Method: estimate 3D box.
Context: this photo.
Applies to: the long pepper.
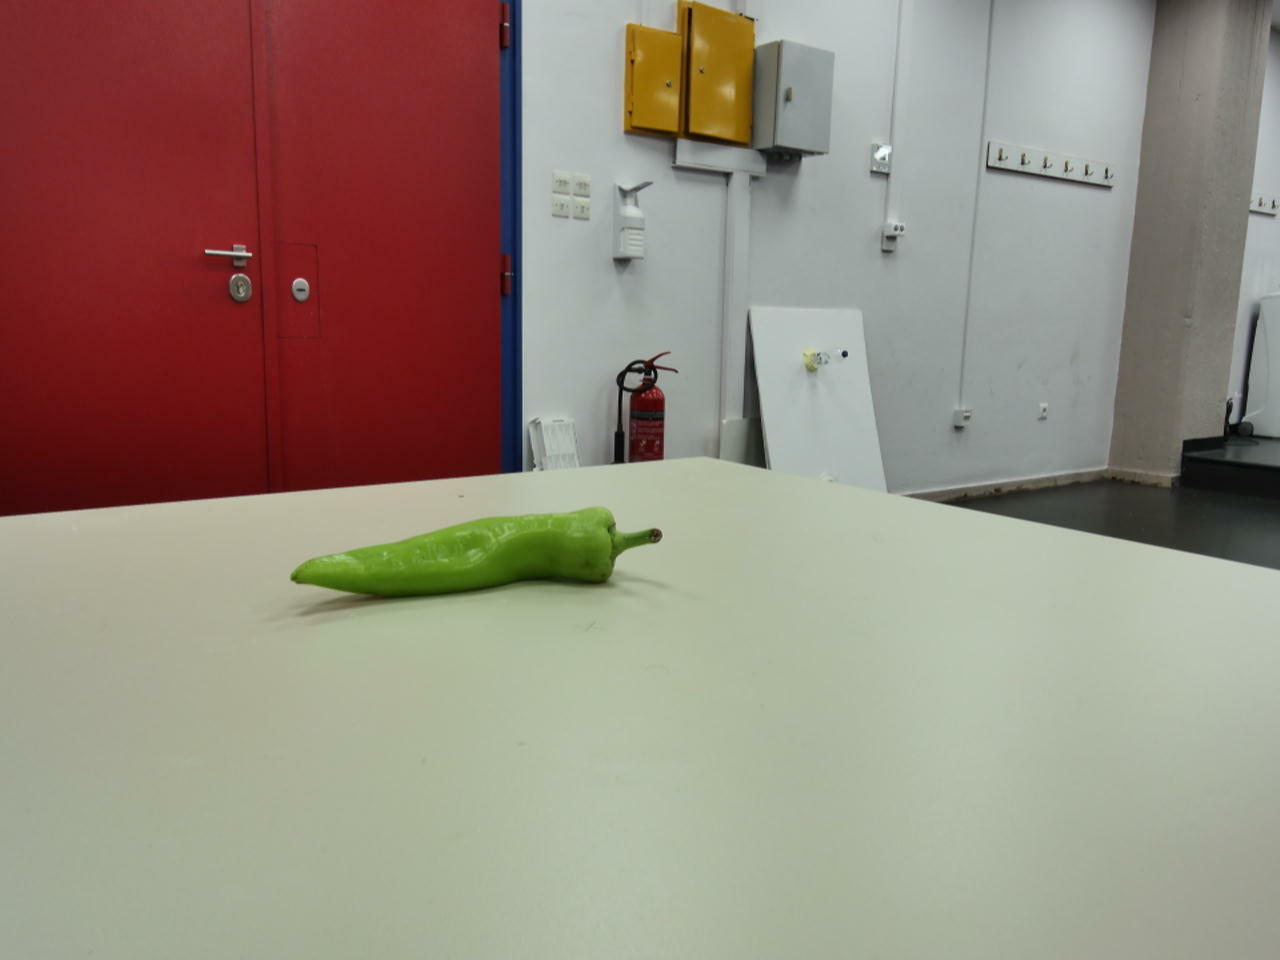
[{"bbox_3d":[-0.091,0.042,0.580,0.204,0.045,0.065,-3,8,-20],"label":"long pepper"}]
